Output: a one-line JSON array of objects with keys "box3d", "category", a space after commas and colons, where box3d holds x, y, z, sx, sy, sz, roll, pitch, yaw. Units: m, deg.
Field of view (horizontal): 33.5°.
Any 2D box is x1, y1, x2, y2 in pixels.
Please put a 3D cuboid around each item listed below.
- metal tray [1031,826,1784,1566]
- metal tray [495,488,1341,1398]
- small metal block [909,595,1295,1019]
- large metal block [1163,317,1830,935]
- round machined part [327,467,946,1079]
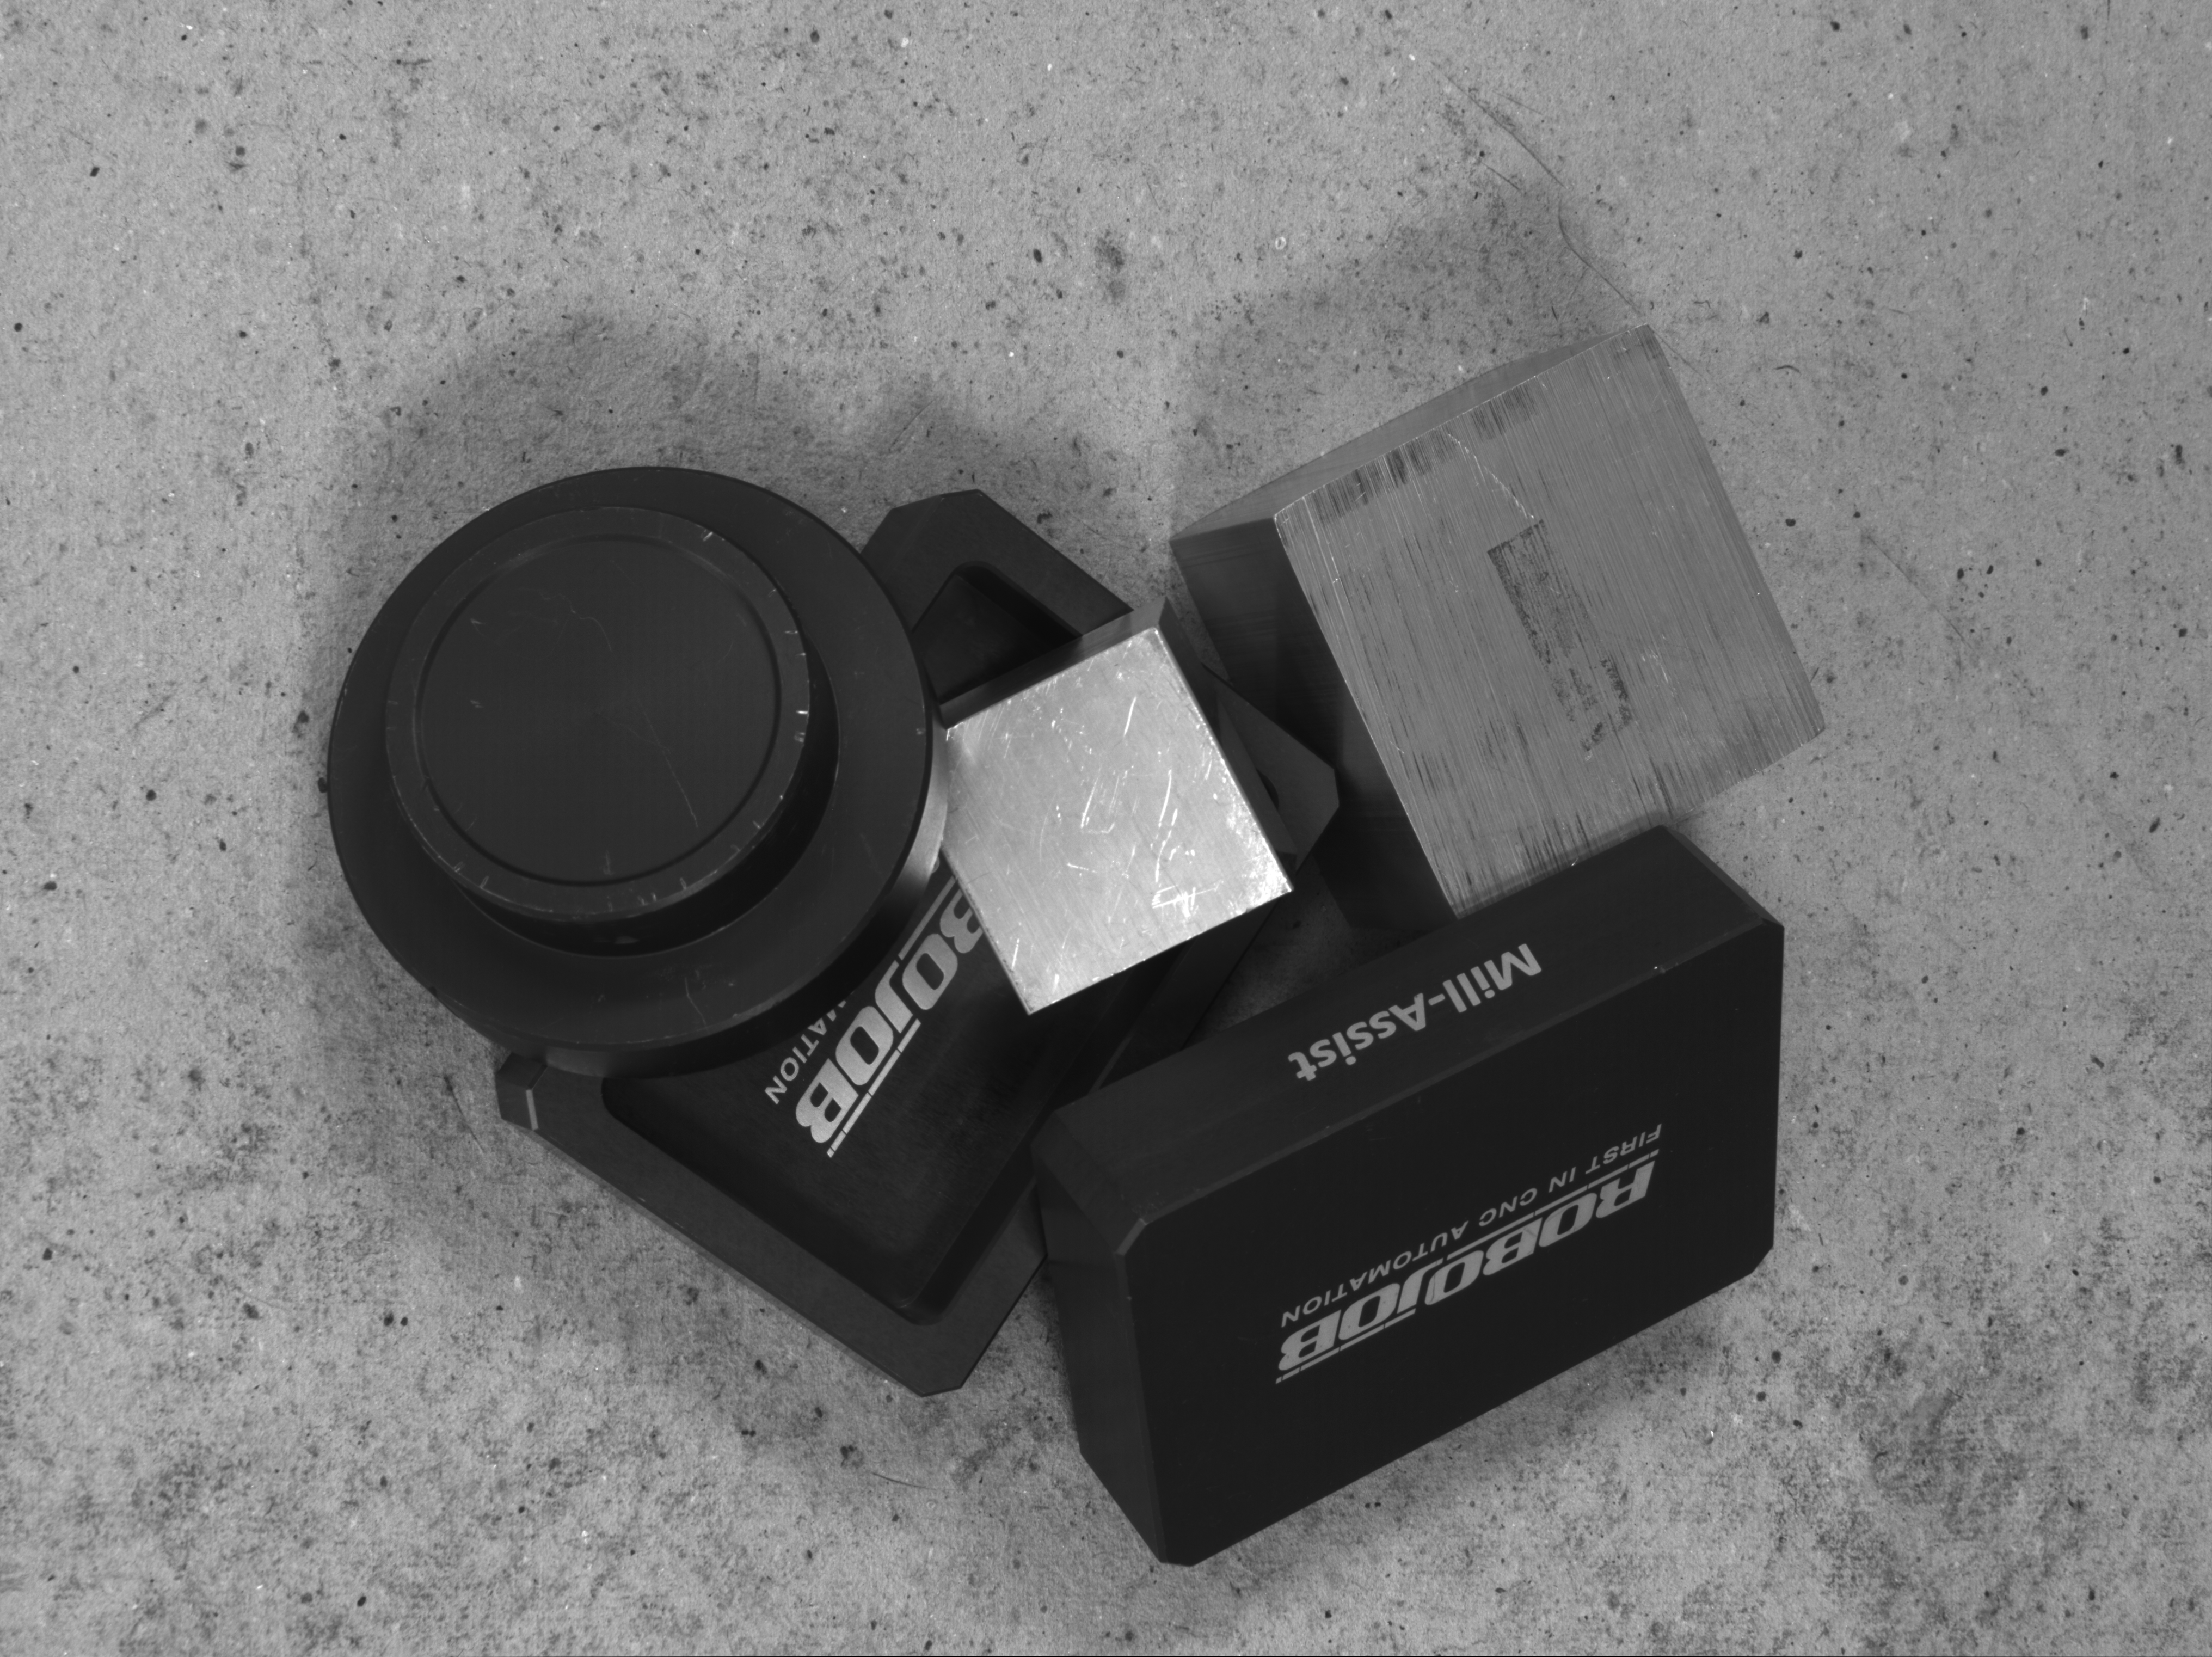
[{"box3d": [0.055, 0.064, 0.636, 0.130, 0.030, 0.090, -24, 134, -18], "category": "metal tray"}, {"box3d": [-0.031, 0.019, 0.629, 0.090, 0.030, 0.130, 37, 78, -16], "category": "metal tray"}, {"box3d": [-0.002, -0.004, 0.619, 0.050, 0.025, 0.050, -26, 102, 10], "category": "small metal block"}, {"box3d": [0.069, -0.035, 0.656, 0.080, 0.050, 0.080, -28, 99, -18], "category": "large metal block"}, {"box3d": [-0.076, -0.013, 0.585, 0.098, 0.042, 0.098, -1, 73, 5], "category": "round machined part"}]
